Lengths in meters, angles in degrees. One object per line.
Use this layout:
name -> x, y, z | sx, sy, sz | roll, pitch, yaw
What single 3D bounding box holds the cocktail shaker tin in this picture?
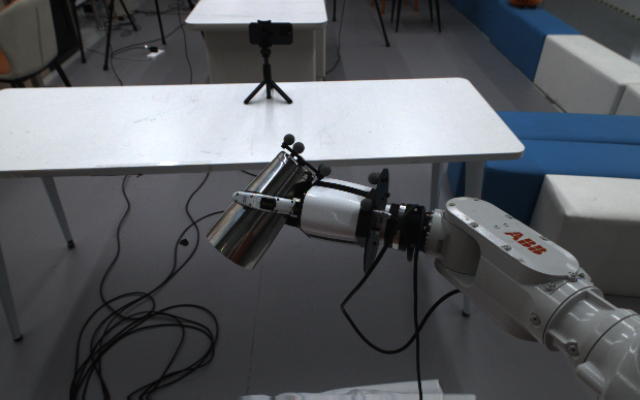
cocktail shaker tin -> -0.086, 0.011, 0.740 | 0.170, 0.093, 0.093 | -50, 47, 3
